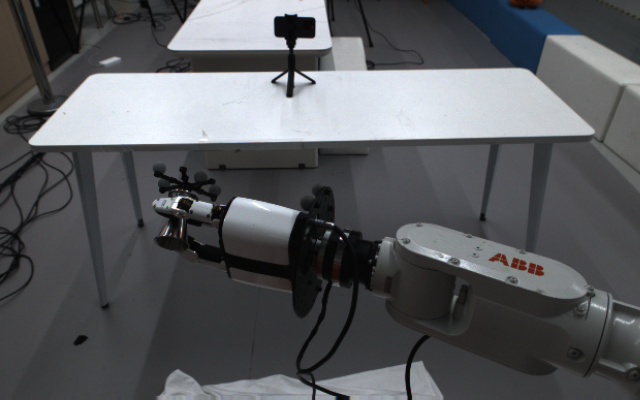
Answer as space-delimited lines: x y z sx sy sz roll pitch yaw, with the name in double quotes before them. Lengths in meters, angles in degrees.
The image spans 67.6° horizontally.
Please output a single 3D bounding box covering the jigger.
"jigger" -0.183 0.024 0.618 0.043 0.043 0.071 4 61 3
